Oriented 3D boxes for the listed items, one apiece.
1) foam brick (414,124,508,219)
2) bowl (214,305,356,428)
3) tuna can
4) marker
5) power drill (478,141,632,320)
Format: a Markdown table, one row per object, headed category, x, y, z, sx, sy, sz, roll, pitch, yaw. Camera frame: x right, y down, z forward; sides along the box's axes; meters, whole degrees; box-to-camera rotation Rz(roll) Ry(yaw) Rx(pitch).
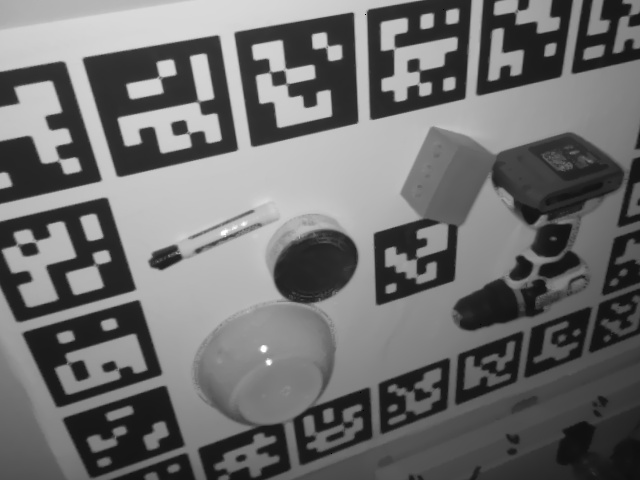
| category | x | y | z | sx | sy | sz | roll | pitch | yaw |
| --- | --- | --- | --- | --- | --- | --- | --- | --- | --- |
| foam brick | 0.134 | -0.065 | 0.666 | 0.052 | 0.052 | 0.077 | 6 | 116 | -24 |
| bowl | -0.025 | 0.145 | 0.726 | 0.163 | 0.055 | 0.160 | -16 | 131 | -18 |
| tuna can | 0.006 | 0.025 | 0.667 | 0.086 | 0.034 | 0.085 | -10 | 123 | -15 |
| marker | -0.083 | 0.003 | 0.623 | 0.122 | 0.019 | 0.019 | -25 | 124 | -8 |
| power drill | 0.258 | -0.003 | 0.751 | 0.186 | 0.057 | 0.186 | -16 | 127 | -10 |
